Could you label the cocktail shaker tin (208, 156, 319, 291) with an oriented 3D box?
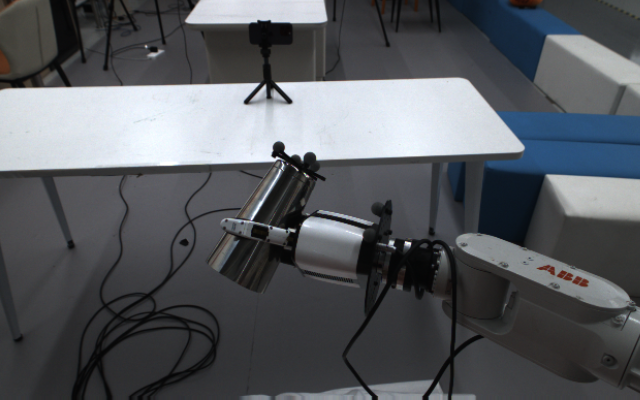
[{"bbox_3d":[-0.077,0.032,0.676,0.093,0.093,0.170,26,83,30],"label":"cocktail shaker tin"}]
